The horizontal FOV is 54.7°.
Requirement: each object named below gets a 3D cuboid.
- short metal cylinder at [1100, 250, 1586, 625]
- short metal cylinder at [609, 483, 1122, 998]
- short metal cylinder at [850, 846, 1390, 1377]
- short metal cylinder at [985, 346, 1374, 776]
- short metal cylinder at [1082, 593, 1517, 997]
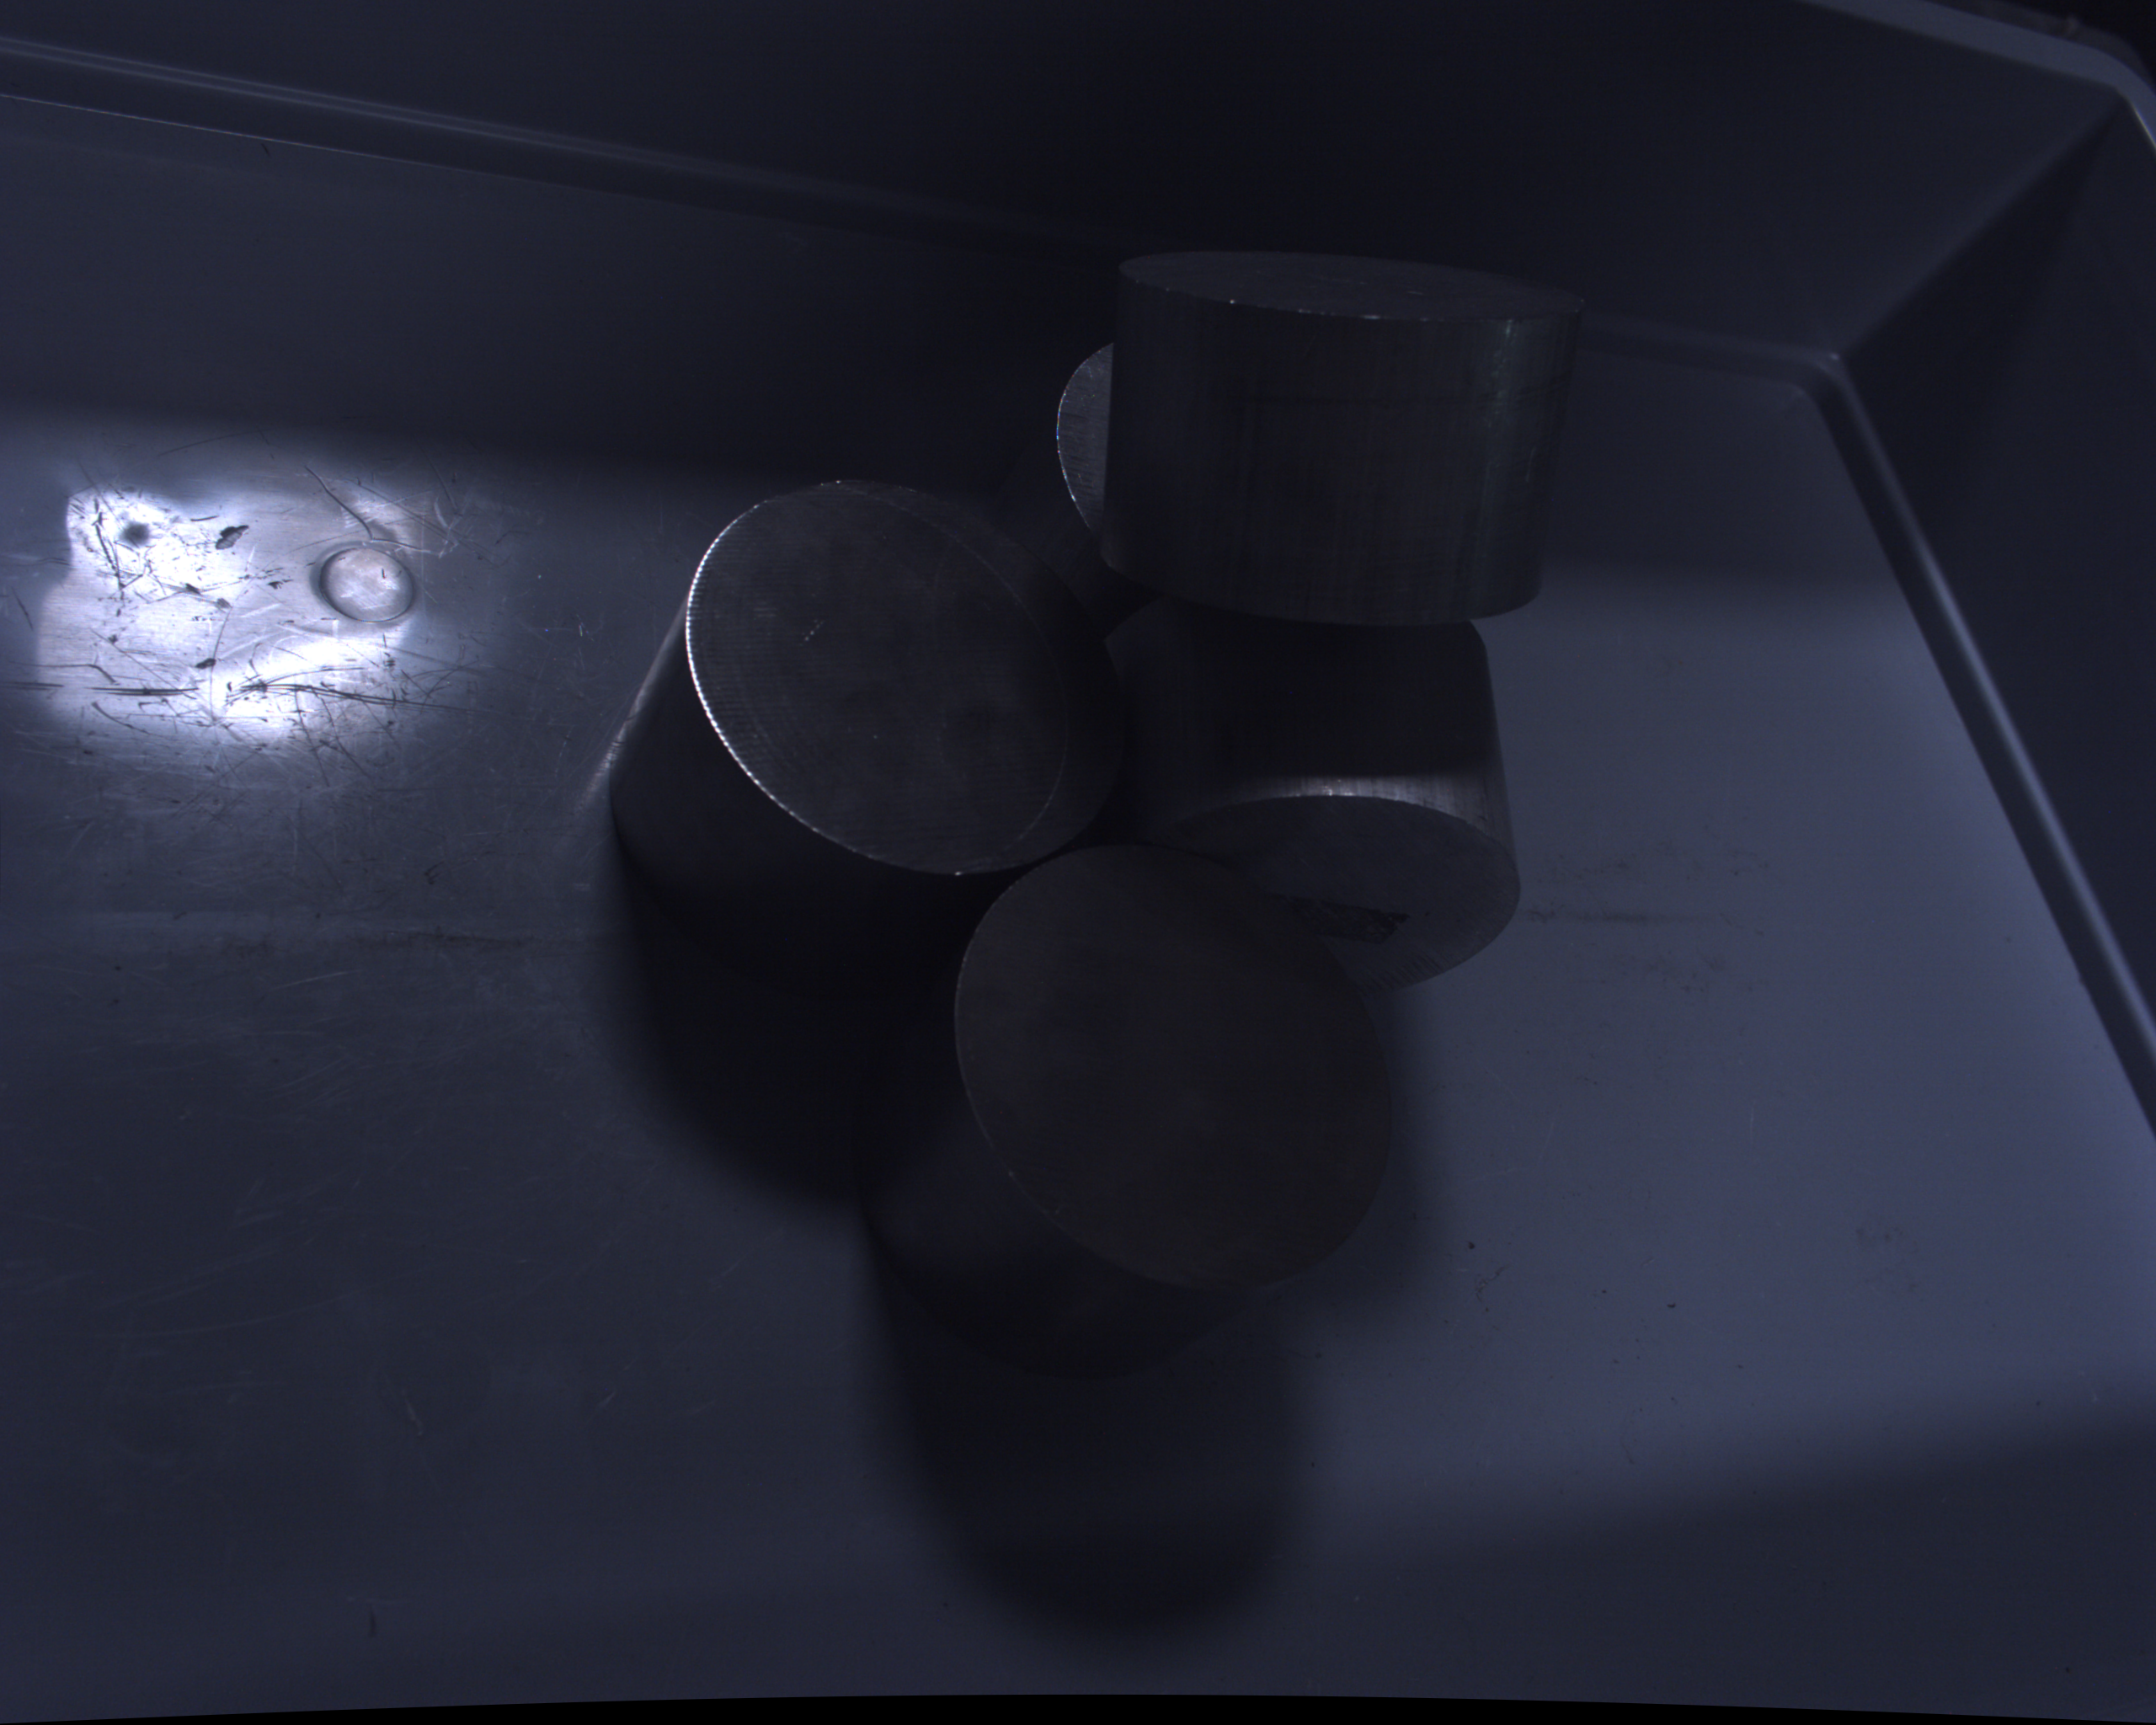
[{"bbox_3d":[0.045,-0.078,0.371,0.081,0.050,0.080,4,23,-1],"label":"short metal cylinder"},{"bbox_3d":[-0.039,-0.022,0.380,0.081,0.050,0.080,14,56,-21],"label":"short metal cylinder"},{"bbox_3d":[0.007,0.044,0.365,0.081,0.050,0.080,14,56,-21],"label":"short metal cylinder"},{"bbox_3d":[0.022,-0.064,0.440,0.081,0.050,0.080,14,56,-21],"label":"short metal cylinder"},{"bbox_3d":[0.040,-0.012,0.400,0.081,0.080,0.050,13,57,-22],"label":"short metal cylinder"}]
